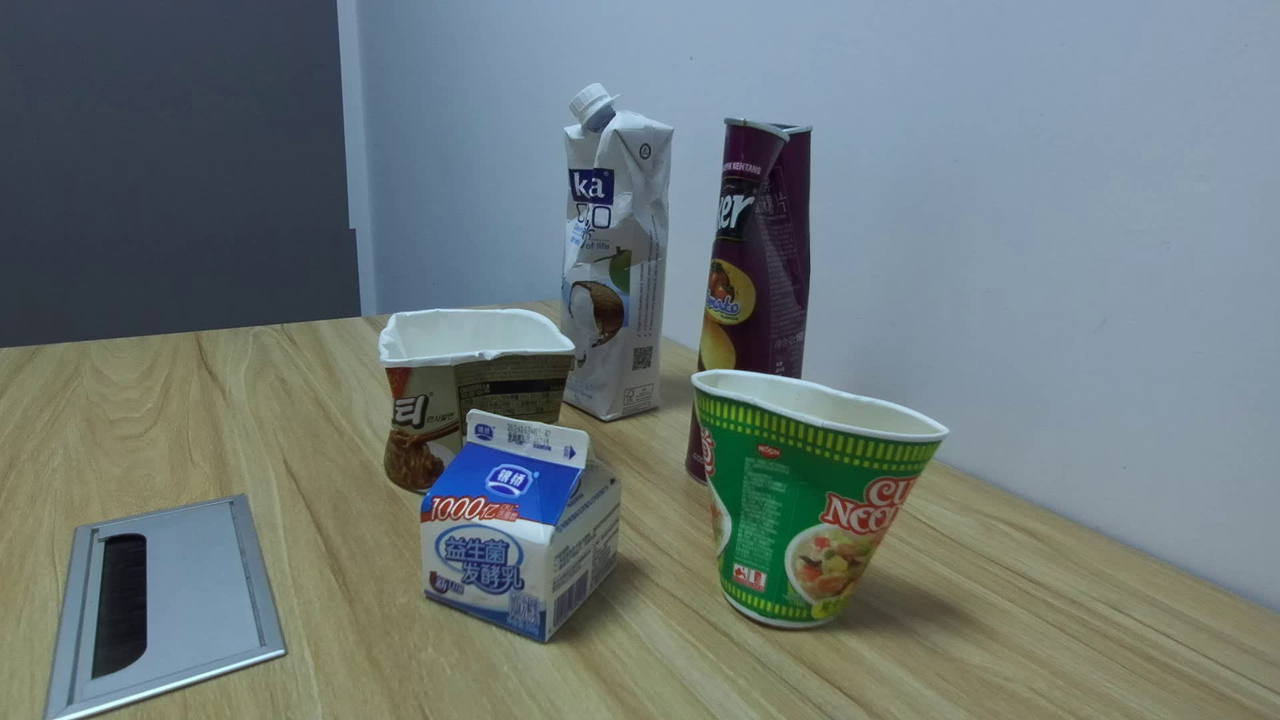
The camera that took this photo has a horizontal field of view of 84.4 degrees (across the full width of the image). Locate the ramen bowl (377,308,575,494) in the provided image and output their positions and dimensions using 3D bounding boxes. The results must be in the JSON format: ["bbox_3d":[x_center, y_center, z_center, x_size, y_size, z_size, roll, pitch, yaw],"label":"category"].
[{"bbox_3d":[-0.122,0.021,0.485,0.114,0.097,0.133,-9,22,-28],"label":"ramen bowl"}]

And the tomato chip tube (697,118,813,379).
[{"bbox_3d":[0.077,-0.033,0.463,0.078,0.235,0.076,0,17,-13],"label":"tomato chip tube"}]

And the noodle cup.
[{"bbox_3d":[0.076,0.067,0.352,0.070,0.111,0.114,-13,24,-35],"label":"noodle cup"}]

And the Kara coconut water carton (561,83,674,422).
[{"bbox_3d":[-0.024,-0.083,0.568,0.079,0.255,0.083,-9,22,-29],"label":"Kara coconut water carton"}]

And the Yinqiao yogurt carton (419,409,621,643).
[{"bbox_3d":[-0.057,0.071,0.351,0.075,0.092,0.074,11,19,23],"label":"Yinqiao yogurt carton"}]
